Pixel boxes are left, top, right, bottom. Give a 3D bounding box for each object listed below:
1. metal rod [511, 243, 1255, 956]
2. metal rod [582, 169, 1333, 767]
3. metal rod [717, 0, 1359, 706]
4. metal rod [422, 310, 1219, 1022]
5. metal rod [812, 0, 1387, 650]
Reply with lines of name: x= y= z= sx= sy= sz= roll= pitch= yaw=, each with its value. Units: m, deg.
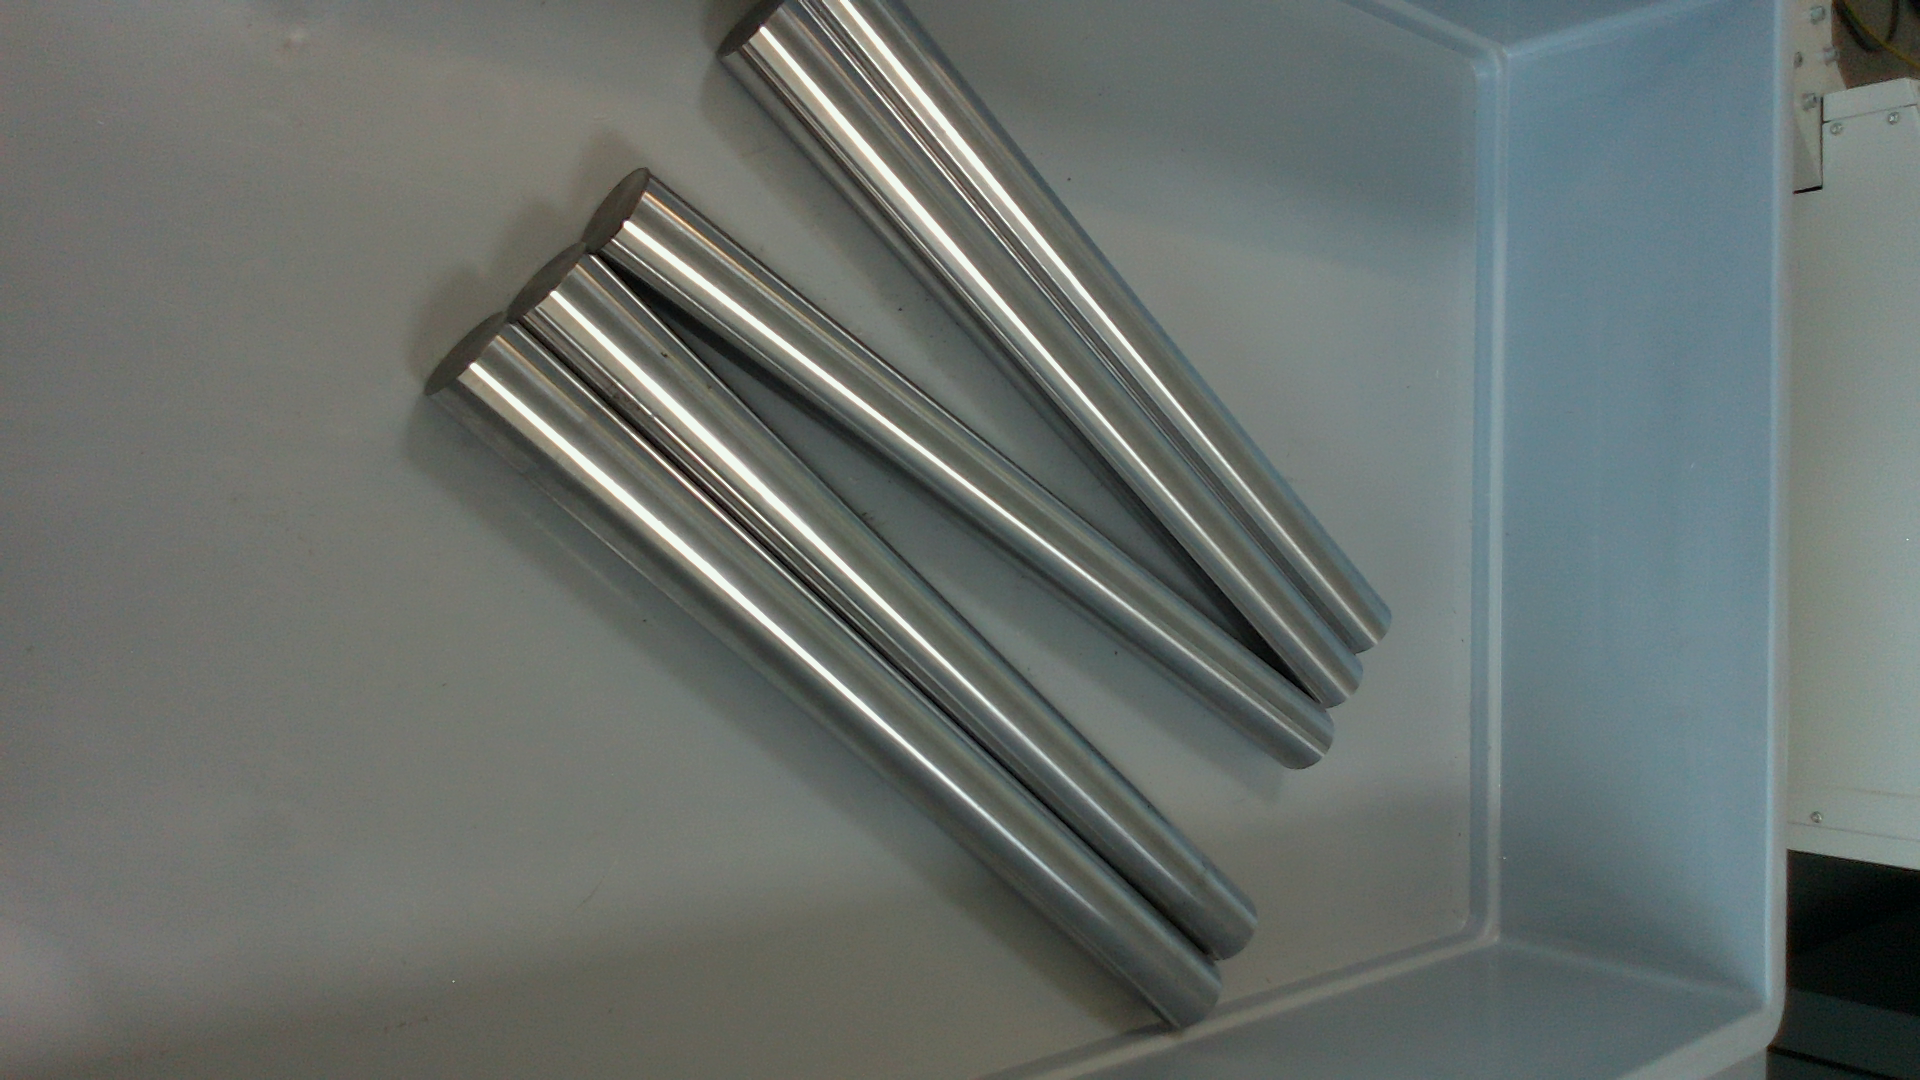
metal rod: x=-0.003 y=0.035 z=0.385 sx=0.301 sy=0.025 sz=0.025 roll=46 pitch=63 yaw=-30
metal rod: x=0.020 y=-0.004 z=0.405 sx=0.301 sy=0.025 sz=0.025 roll=36 pitch=68 yaw=-34
metal rod: x=0.041 y=-0.040 z=0.422 sx=0.301 sy=0.025 sz=0.025 roll=44 pitch=64 yaw=-31
metal rod: x=-0.017 y=0.052 z=0.374 sx=0.301 sy=0.025 sz=0.025 roll=46 pitch=63 yaw=-30
metal rod: x=0.054 y=-0.058 z=0.433 sx=0.301 sy=0.025 sz=0.025 roll=44 pitch=64 yaw=-31
